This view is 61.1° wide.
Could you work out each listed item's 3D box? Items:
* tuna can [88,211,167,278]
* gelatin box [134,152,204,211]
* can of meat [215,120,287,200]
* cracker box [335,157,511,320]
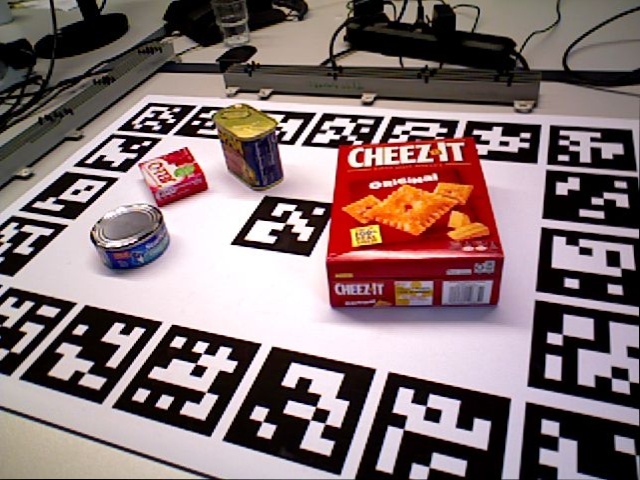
[{"bbox_3d":[-0.227,0.005,0.646,0.085,0.034,0.084,-7,42,5],"label":"tuna can"},{"bbox_3d":[-0.211,-0.084,0.758,0.072,0.031,0.089,-21,43,-20],"label":"gelatin box"},{"bbox_3d":[-0.092,-0.111,0.740,0.056,0.085,0.102,-31,43,-27],"label":"can of meat"},{"bbox_3d":[0.100,-0.010,0.589,0.164,0.073,0.209,-2,38,6],"label":"cracker box"}]
